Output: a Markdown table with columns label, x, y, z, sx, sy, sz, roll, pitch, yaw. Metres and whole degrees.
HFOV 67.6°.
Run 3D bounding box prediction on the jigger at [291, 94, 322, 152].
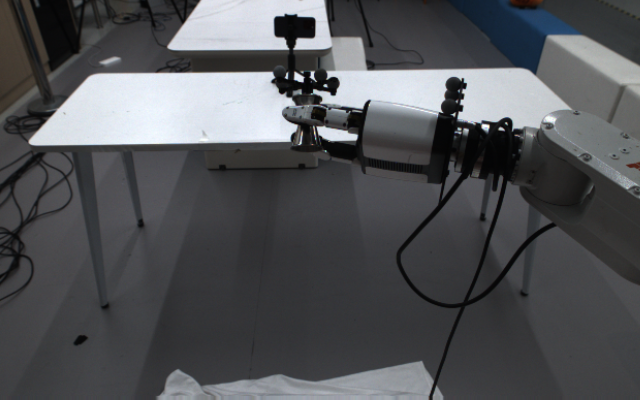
| label | x | y | z | sx | sy | sz | roll | pitch | yaw |
| --- | --- | --- | --- | --- | --- | --- | --- | --- | --- |
| jigger | -0.018 | -0.100 | 0.630 | 0.043 | 0.071 | 0.043 | 1 | -5 | 0 |
